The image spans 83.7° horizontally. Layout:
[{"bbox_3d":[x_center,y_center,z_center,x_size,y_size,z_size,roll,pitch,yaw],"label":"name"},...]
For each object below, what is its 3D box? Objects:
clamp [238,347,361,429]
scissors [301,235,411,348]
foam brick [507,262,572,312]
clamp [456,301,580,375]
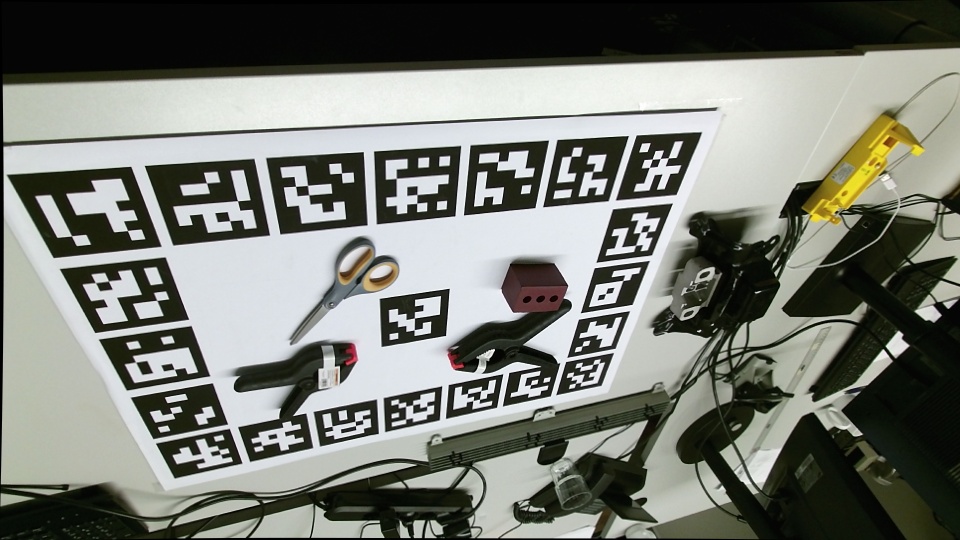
[{"bbox_3d":[-0.249,0.165,0.790,0.165,0.036,0.122,-29,126,1],"label":"clamp"},{"bbox_3d":[-0.178,0.040,0.721,0.088,0.016,0.203,34,111,-31],"label":"scissors"},{"bbox_3d":[0.091,0.025,0.807,0.078,0.051,0.053,-4,127,-26],"label":"foam brick"},{"bbox_3d":[0.061,0.131,0.890,0.203,0.036,0.165,-10,134,-14],"label":"clamp"}]
